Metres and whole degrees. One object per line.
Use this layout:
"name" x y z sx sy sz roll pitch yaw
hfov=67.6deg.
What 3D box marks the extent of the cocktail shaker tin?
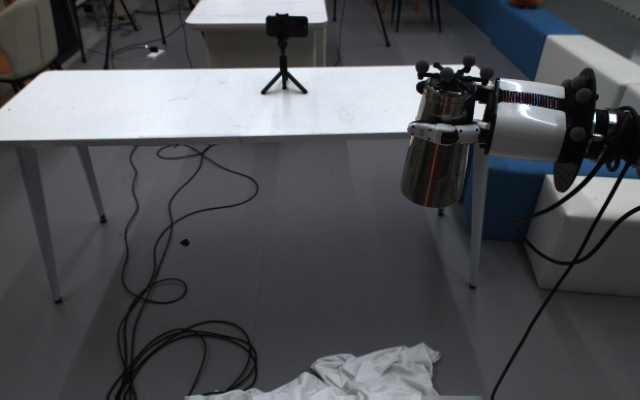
"cocktail shaker tin" 0.172 -0.088 0.679 0.093 0.170 0.093 1 39 -1
